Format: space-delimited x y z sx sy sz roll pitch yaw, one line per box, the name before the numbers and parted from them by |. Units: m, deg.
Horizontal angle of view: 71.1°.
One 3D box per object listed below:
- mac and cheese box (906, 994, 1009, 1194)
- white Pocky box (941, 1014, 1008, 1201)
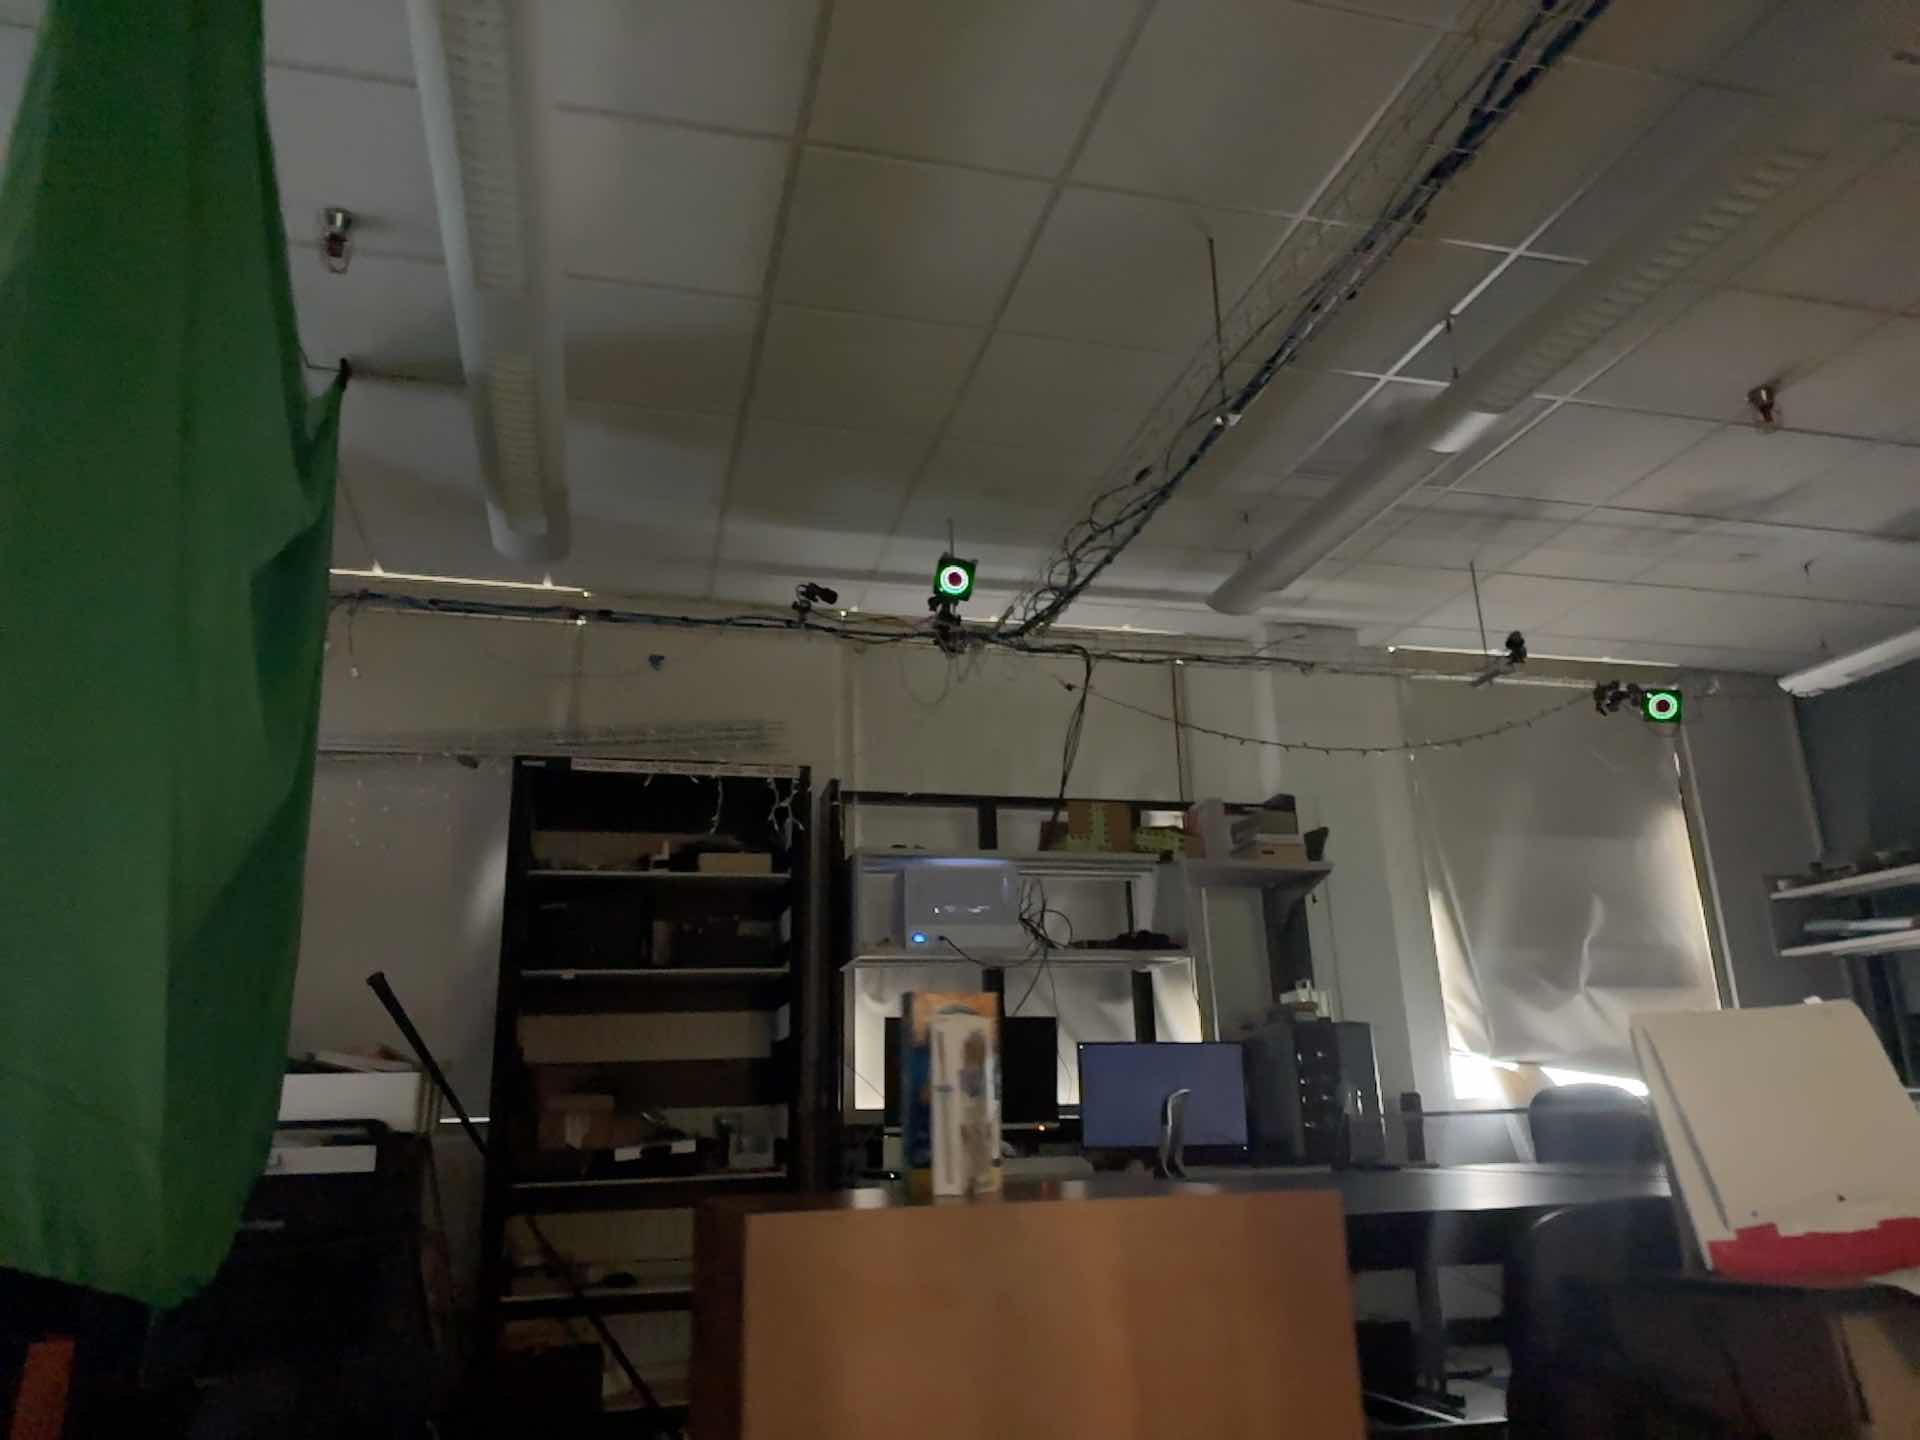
mac and cheese box | -0.004 0.362 1.308 0.088 0.181 0.035 5 -18 -20
white Pocky box | 0.013 0.340 1.184 0.028 0.154 0.084 -9 -18 24
